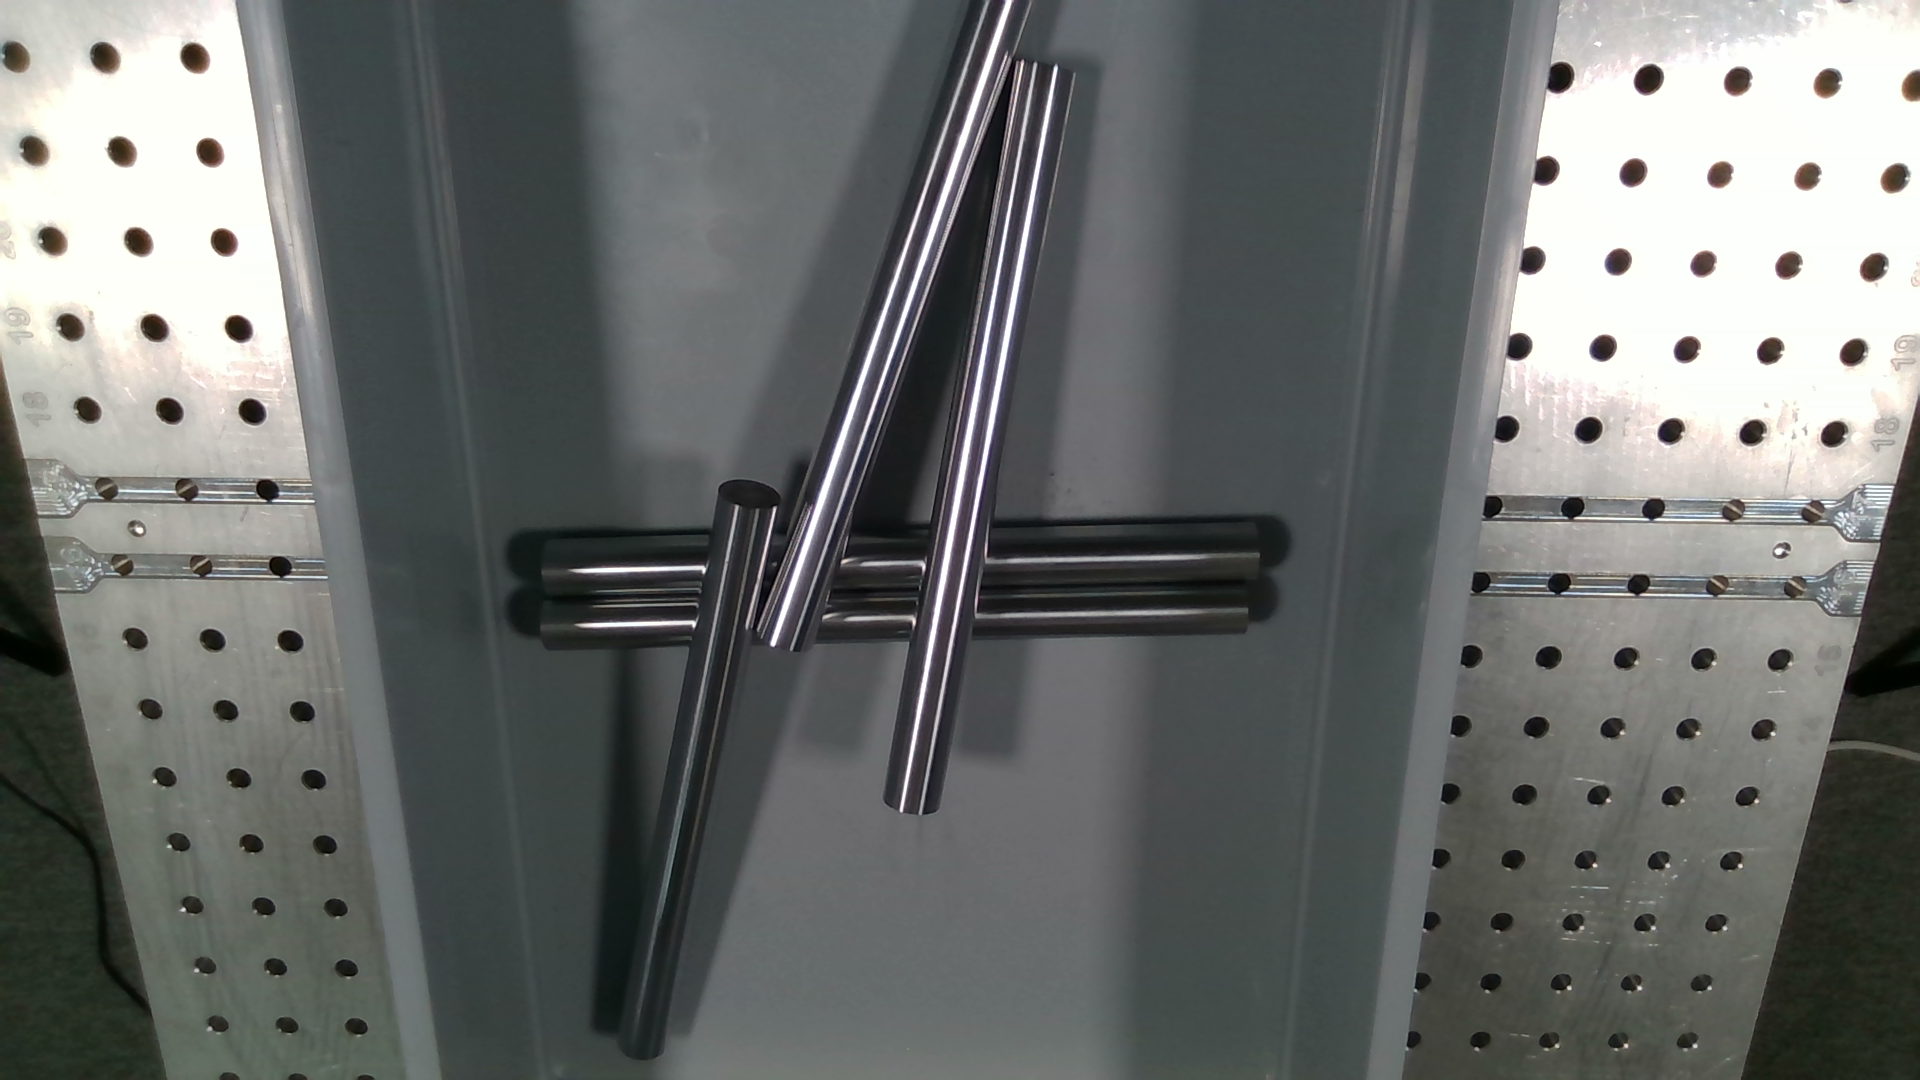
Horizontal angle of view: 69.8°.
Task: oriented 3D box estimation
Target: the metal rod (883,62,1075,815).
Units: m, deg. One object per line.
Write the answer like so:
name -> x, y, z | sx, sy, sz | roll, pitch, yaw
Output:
metal rod -> 0.005, -0.033, 0.551 | 0.025, 0.025, 0.300 | 9, 103, -3

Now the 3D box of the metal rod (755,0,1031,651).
metal rod -> -0.024, -0.097, 0.534 | 0.025, 0.025, 0.300 | 18, 104, -6

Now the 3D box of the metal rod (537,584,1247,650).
metal rod -> -0.029, 0.032, 0.594 | 0.300, 0.025, 0.025 | -1, 110, 0

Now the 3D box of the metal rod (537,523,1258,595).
metal rod -> -0.026, 0.008, 0.585 | 0.300, 0.025, 0.025 | -1, 110, 0

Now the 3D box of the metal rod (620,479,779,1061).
metal rod -> -0.119, 0.113, 0.607 | 0.025, 0.025, 0.301 | 13, 115, -5
